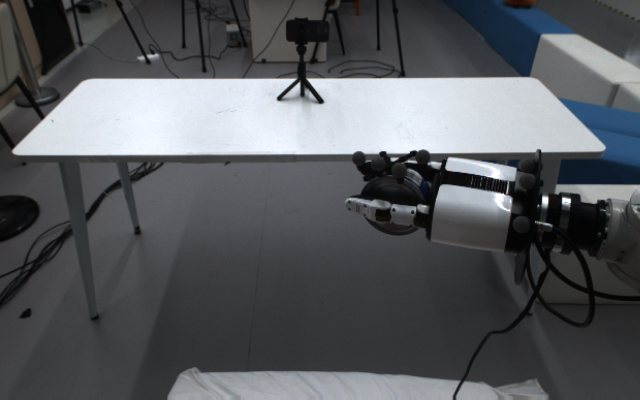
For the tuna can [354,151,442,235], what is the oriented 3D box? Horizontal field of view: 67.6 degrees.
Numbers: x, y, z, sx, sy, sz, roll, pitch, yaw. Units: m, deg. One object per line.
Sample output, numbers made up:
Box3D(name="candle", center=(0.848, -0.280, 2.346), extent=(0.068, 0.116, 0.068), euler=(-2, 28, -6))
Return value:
Box3D(name="tuna can", center=(0.098, -0.001, 0.610), extent=(0.085, 0.085, 0.034), euler=(15, 35, 17))
